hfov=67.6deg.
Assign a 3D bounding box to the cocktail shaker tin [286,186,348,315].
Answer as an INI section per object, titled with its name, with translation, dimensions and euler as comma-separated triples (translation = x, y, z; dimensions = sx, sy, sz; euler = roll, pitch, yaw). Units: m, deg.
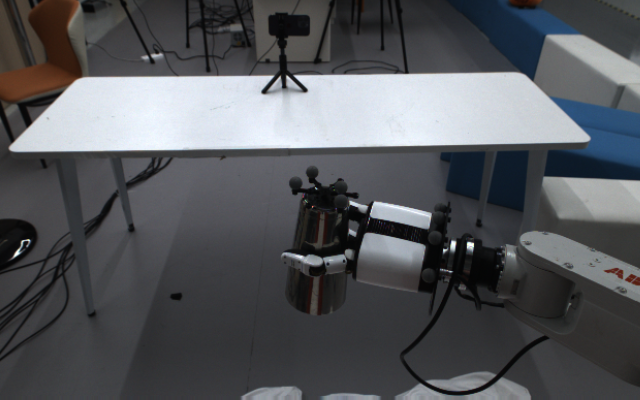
[cocktail shaker tin]
translation = 0.001, 0.068, 0.687
dimensions = 0.093, 0.170, 0.093
euler = 3, 32, -2
